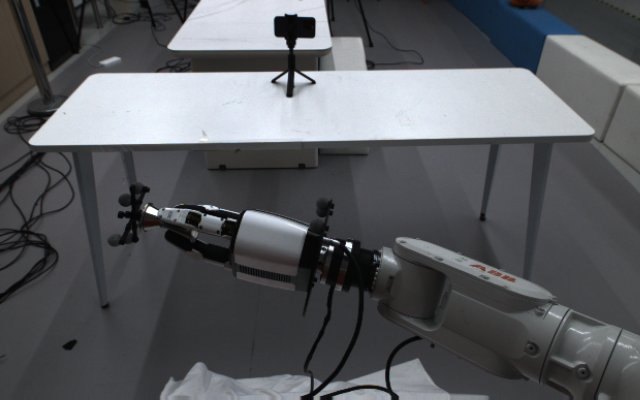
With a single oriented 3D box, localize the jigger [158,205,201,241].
[{"bbox_3d":[-0.190,0.026,0.640,0.071,0.043,0.043,11,35,1],"label":"jigger"}]
